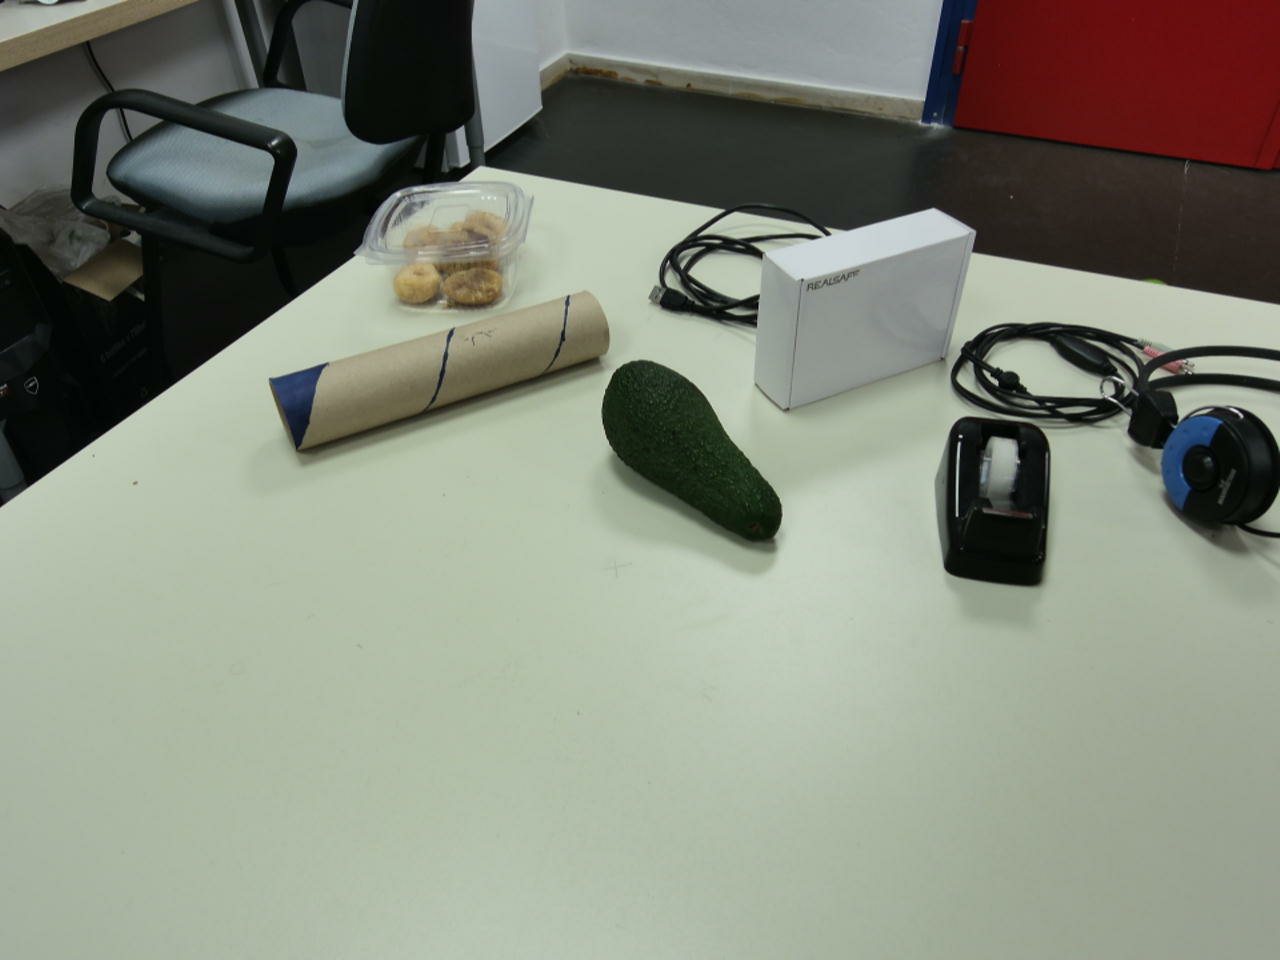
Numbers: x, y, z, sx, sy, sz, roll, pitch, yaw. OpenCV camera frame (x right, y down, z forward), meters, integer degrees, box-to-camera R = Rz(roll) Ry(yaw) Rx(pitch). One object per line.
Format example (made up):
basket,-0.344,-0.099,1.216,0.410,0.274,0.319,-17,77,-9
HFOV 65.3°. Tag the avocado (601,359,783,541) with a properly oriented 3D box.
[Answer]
avocado,0.033,-0.024,0.585,0.141,0.067,0.063,28,46,31
